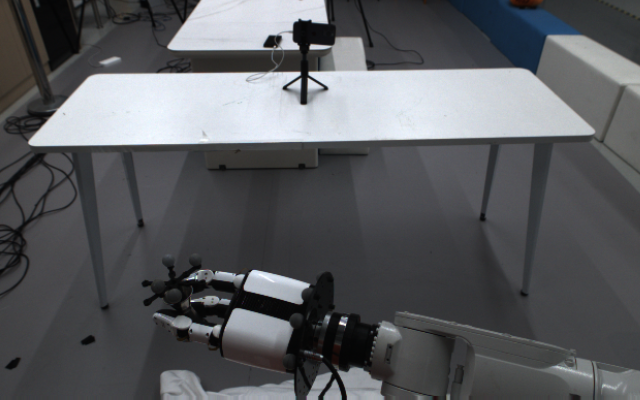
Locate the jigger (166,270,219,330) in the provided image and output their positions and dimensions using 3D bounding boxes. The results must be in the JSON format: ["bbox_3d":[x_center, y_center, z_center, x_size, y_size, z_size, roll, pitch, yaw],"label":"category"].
[{"bbox_3d":[-0.177,0.148,0.654,0.043,0.071,0.043,-8,31,5],"label":"jigger"}]
